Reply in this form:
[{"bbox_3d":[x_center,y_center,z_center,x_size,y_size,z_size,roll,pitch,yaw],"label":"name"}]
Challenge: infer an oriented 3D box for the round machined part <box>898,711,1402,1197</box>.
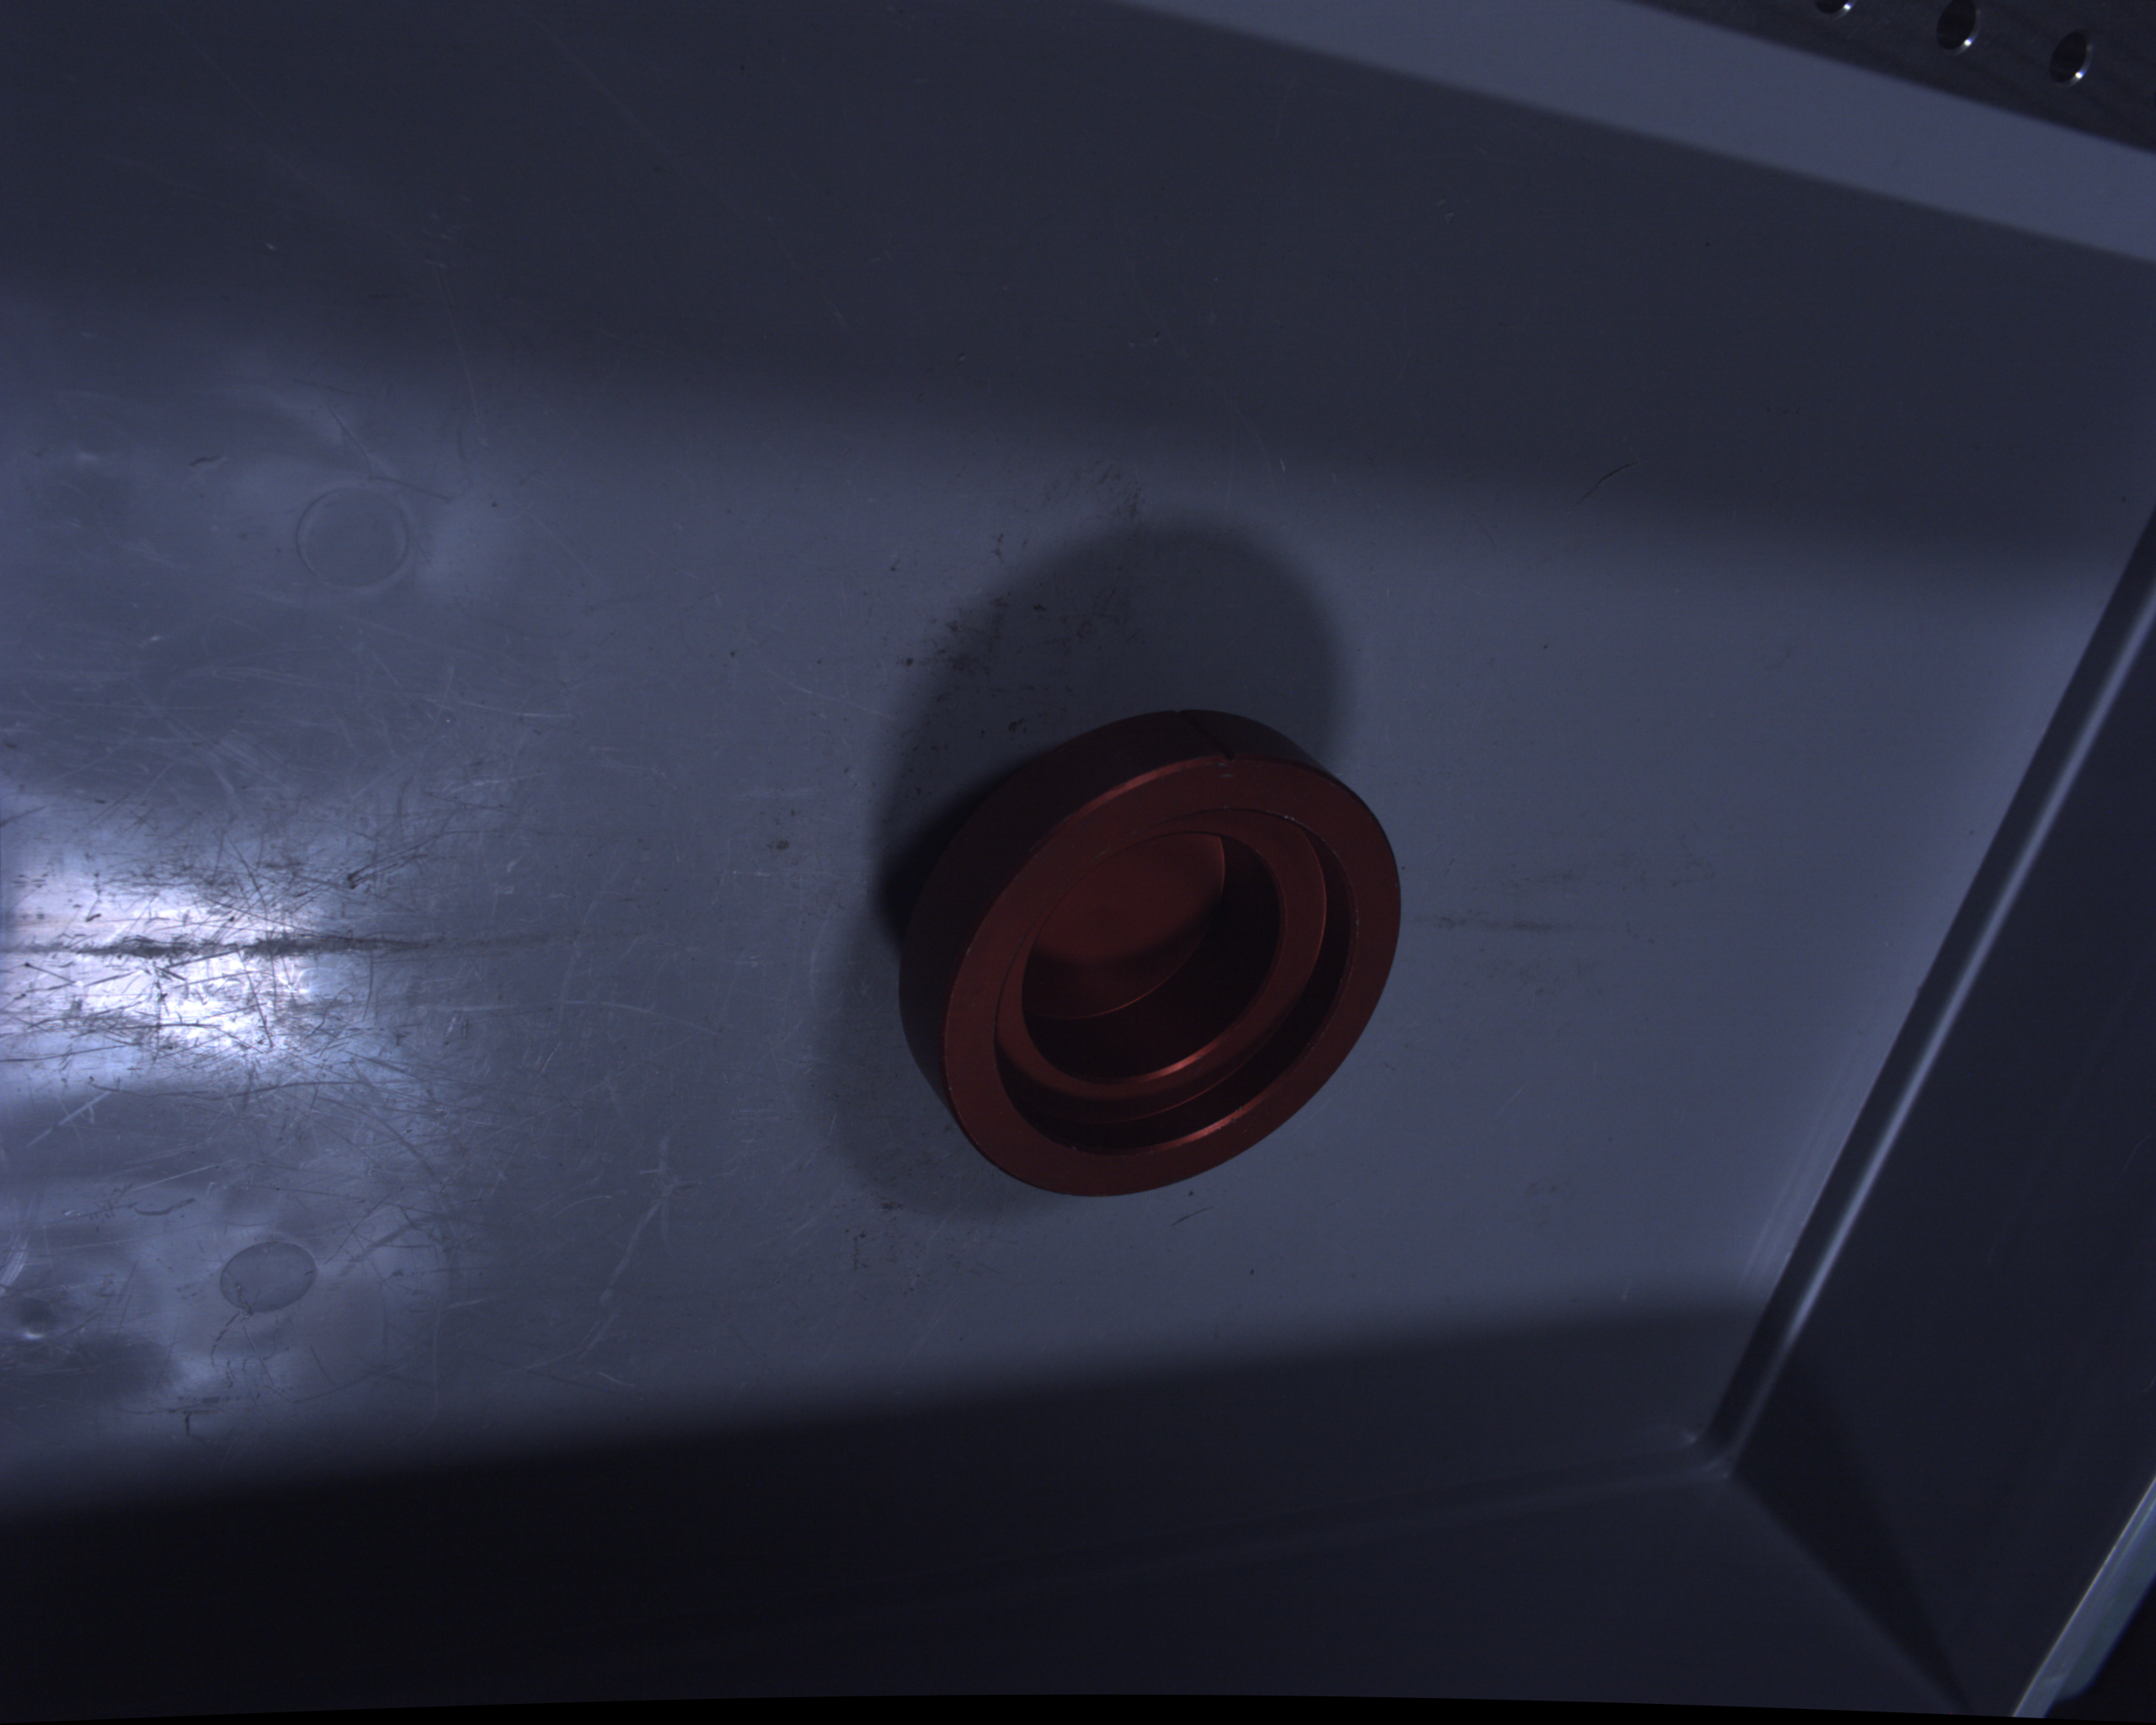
[{"bbox_3d":[0.011,0.014,0.409,0.099,0.042,0.097,-14,125,-21],"label":"round machined part"}]
